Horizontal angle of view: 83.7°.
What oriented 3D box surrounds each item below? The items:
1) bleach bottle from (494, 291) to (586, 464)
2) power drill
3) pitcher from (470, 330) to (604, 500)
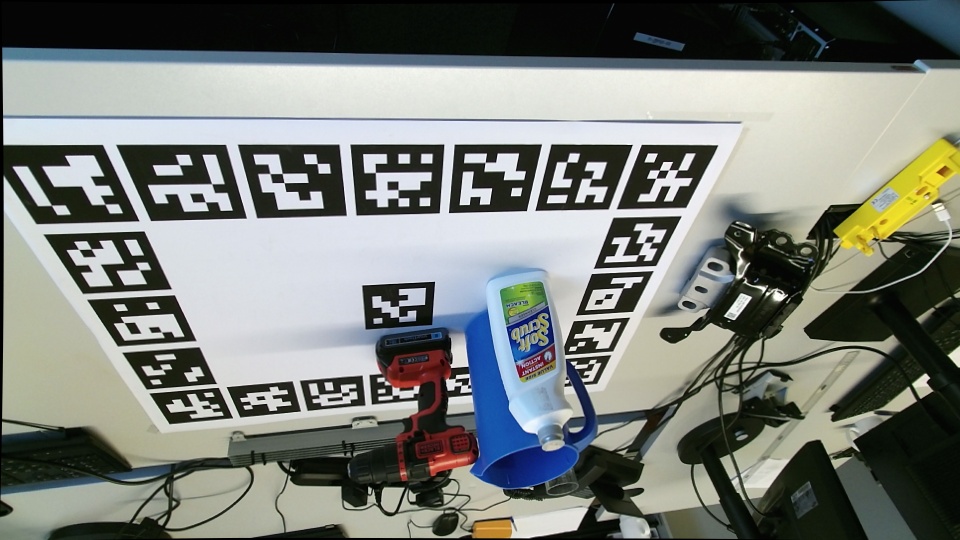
[{"bbox_3d":[0.091,0.142,0.714,0.103,0.249,0.068,-9,136,-6],"label":"bleach bottle"},{"bbox_3d":[-0.102,0.218,0.783,0.185,0.186,0.057,-4,132,-3],"label":"power drill"},{"bbox_3d":[0.066,0.202,0.797,0.189,0.241,0.133,-23,134,8],"label":"pitcher"}]
